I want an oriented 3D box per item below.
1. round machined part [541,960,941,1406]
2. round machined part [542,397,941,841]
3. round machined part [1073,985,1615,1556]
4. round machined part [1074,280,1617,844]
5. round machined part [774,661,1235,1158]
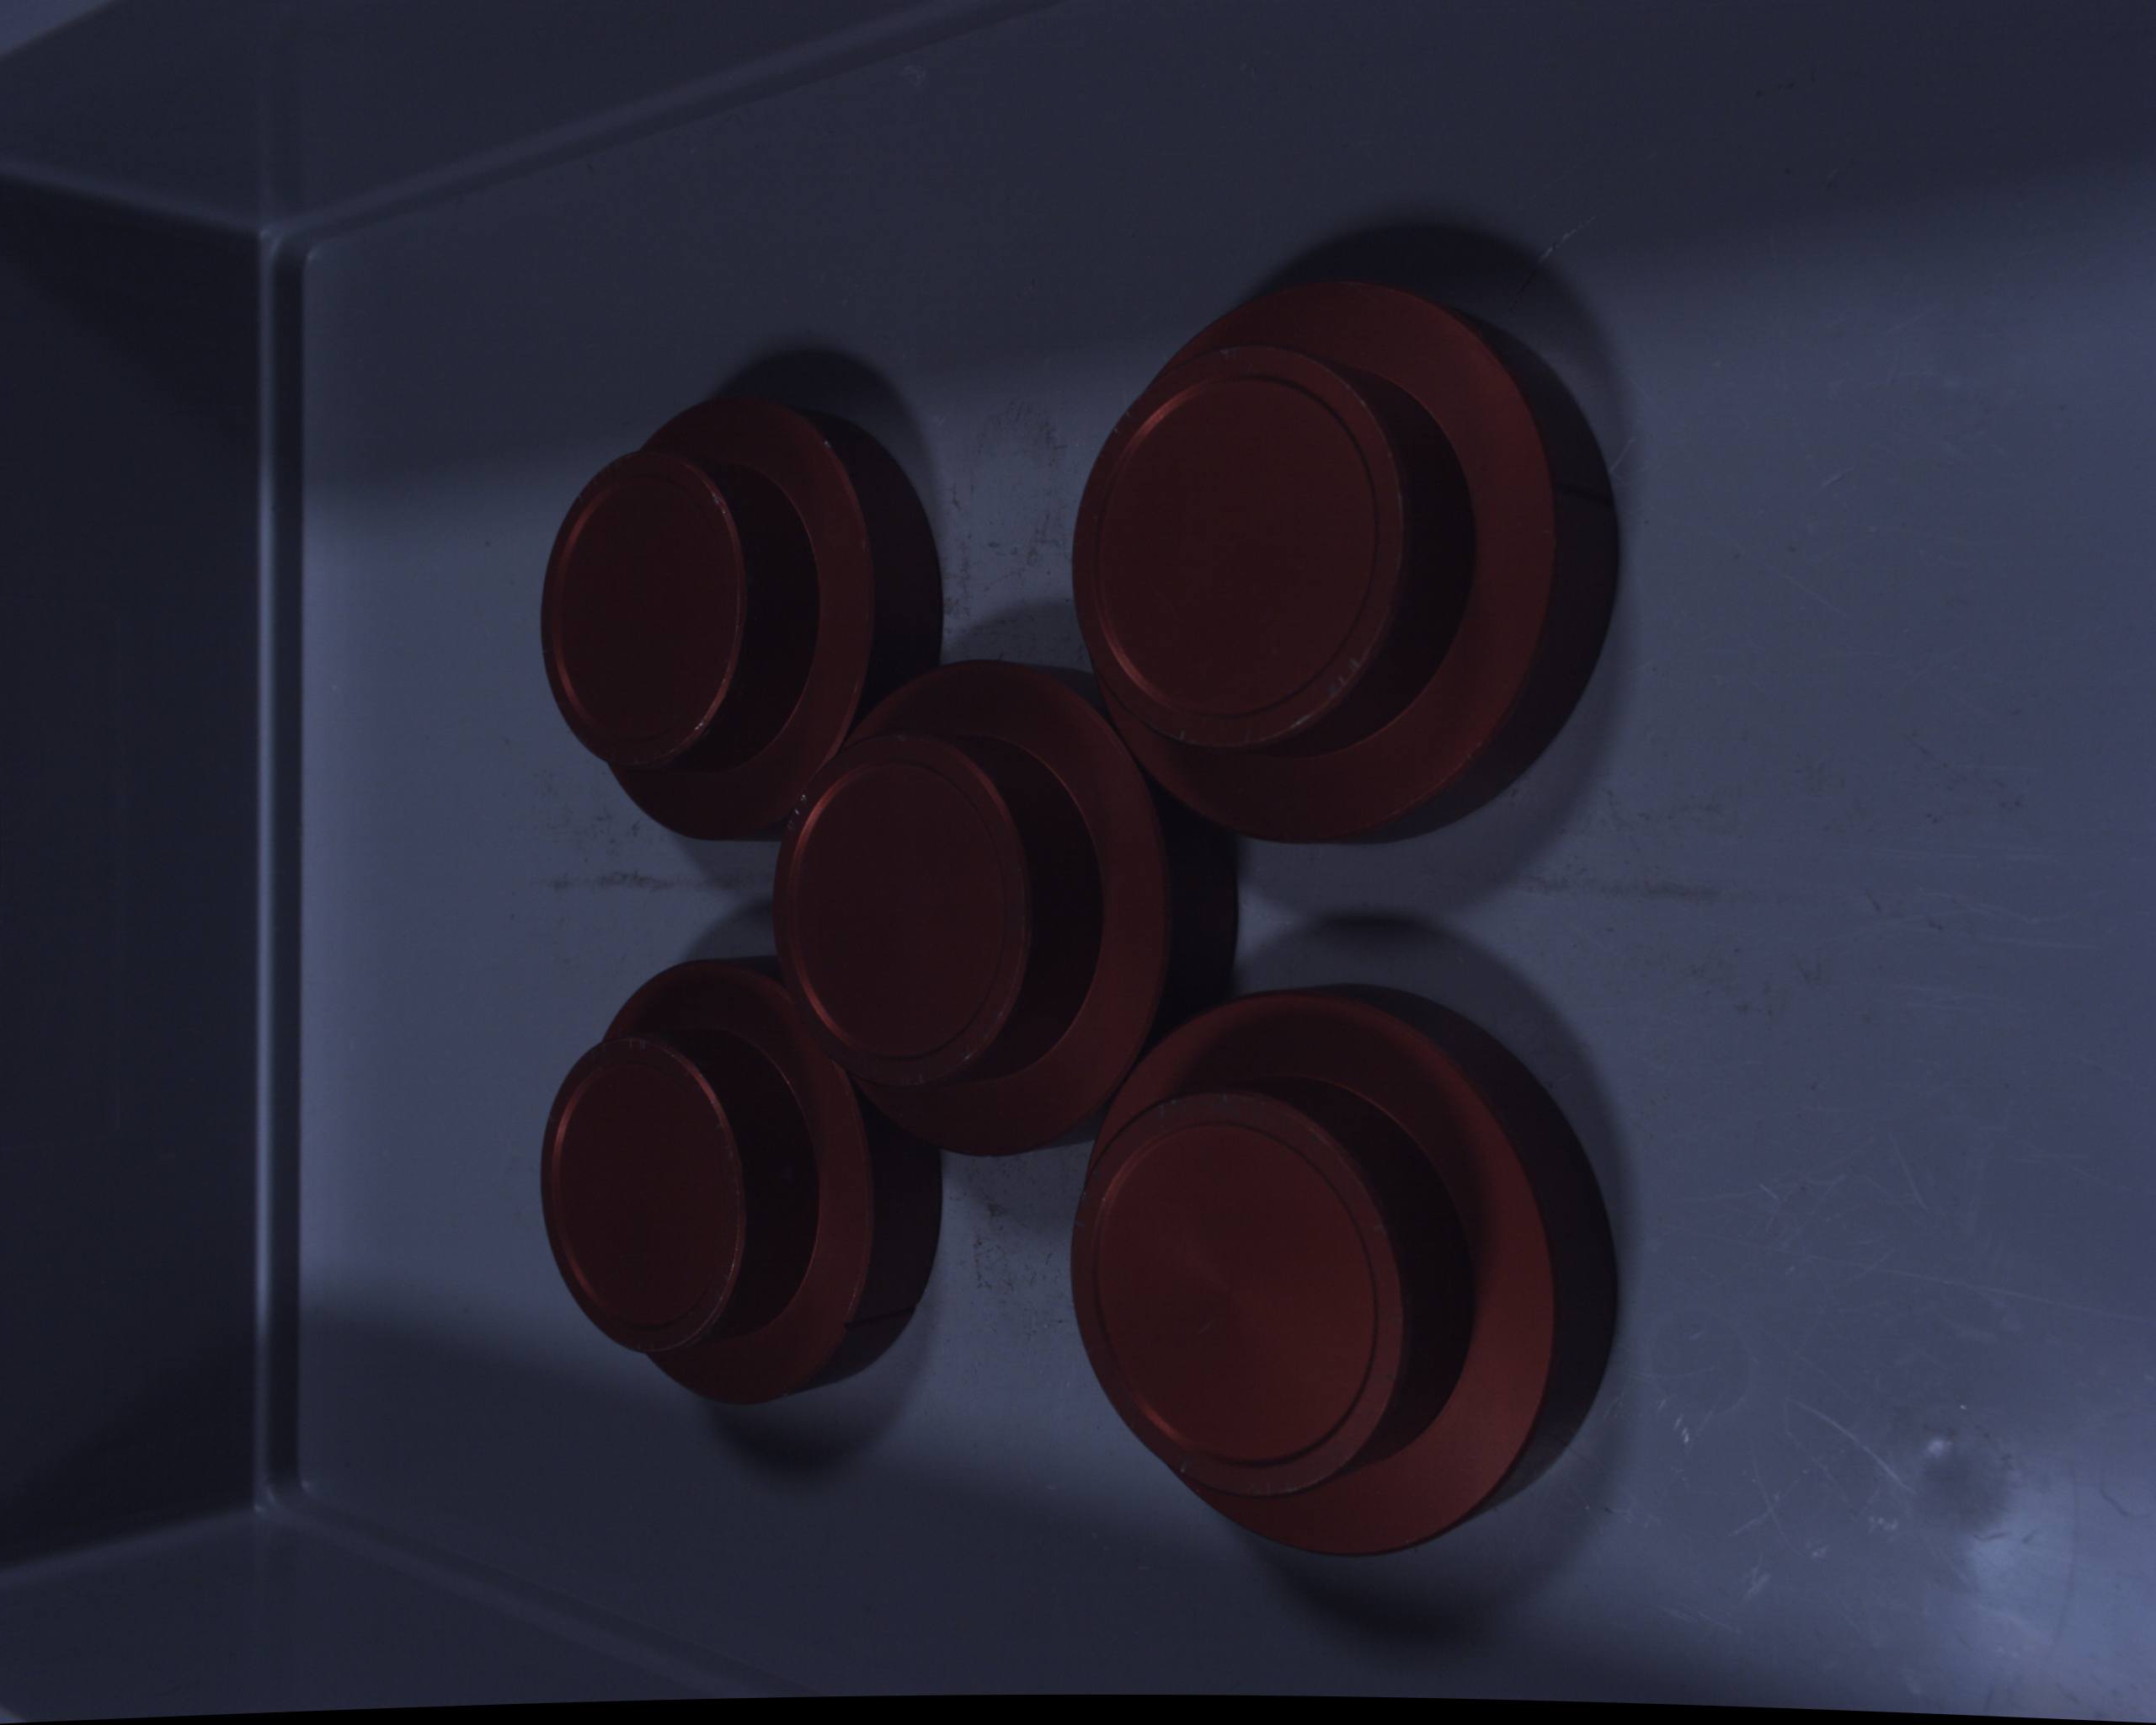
[{"bbox_3d":[-0.080,0.070,0.457,0.098,0.042,0.097,0,90,39],"label":"round machined part"},{"bbox_3d":[-0.080,-0.053,0.457,0.098,0.042,0.097,0,90,39],"label":"round machined part"},{"bbox_3d":[0.038,0.071,0.361,0.098,0.042,0.097,0,90,39],"label":"round machined part"},{"bbox_3d":[0.038,-0.052,0.361,0.098,0.042,0.097,0,90,39],"label":"round machined part"},{"bbox_3d":[-0.021,0.009,0.409,0.098,0.042,0.097,0,90,39],"label":"round machined part"}]
